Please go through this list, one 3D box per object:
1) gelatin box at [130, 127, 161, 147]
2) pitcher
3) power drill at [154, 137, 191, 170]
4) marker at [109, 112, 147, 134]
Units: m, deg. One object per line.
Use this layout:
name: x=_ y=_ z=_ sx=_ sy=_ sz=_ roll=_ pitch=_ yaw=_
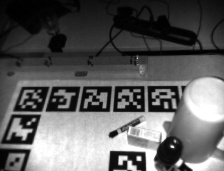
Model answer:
gelatin box: x=0.097 y=0.144 z=0.595 sx=0.089 sy=0.074 sz=0.030 roll=8 pitch=62 yaw=10
pitcher: x=0.231 y=0.094 z=0.520 sx=0.186 sy=0.245 sz=0.133 roll=25 pitch=66 yaw=28
power drill: x=0.182 y=0.194 z=0.487 sx=0.185 sy=0.185 sz=0.057 roll=32 pitch=69 yaw=18
marker: x=0.048 y=0.113 z=0.649 sx=0.121 sy=0.020 sz=0.019 roll=-24 pitch=58 yaw=-9
